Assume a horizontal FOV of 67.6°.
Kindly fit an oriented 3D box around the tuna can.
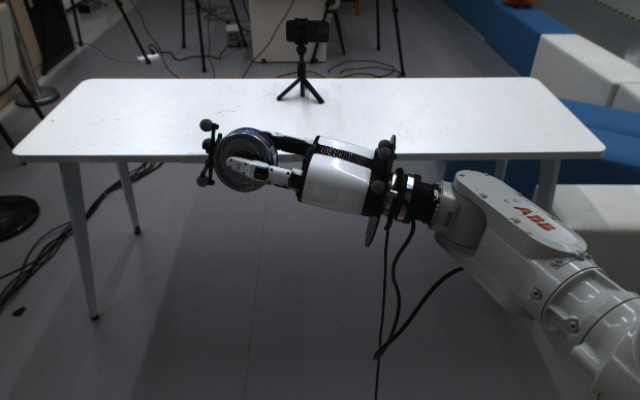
[{"bbox_3d":[-0.102,-0.055,0.671,0.085,0.085,0.034,4,18,3],"label":"tuna can"}]
